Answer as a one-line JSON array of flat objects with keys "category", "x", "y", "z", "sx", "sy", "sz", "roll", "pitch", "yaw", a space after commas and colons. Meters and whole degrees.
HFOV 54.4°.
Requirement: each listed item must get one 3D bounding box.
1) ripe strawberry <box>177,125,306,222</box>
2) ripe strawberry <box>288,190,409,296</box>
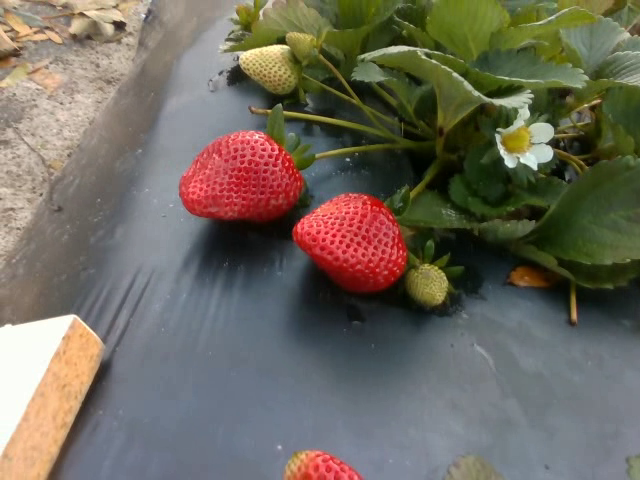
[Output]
[{"category": "ripe strawberry", "x": -0.044, "y": -0.028, "z": 0.302, "sx": 0.058, "sy": 0.044, "sz": 0.065, "roll": 6, "pitch": 32, "yaw": 47}, {"category": "ripe strawberry", "x": 0.009, "y": -0.001, "z": 0.275, "sx": 0.050, "sy": 0.051, "sz": 0.059, "roll": 0, "pitch": -4, "yaw": 44}]
